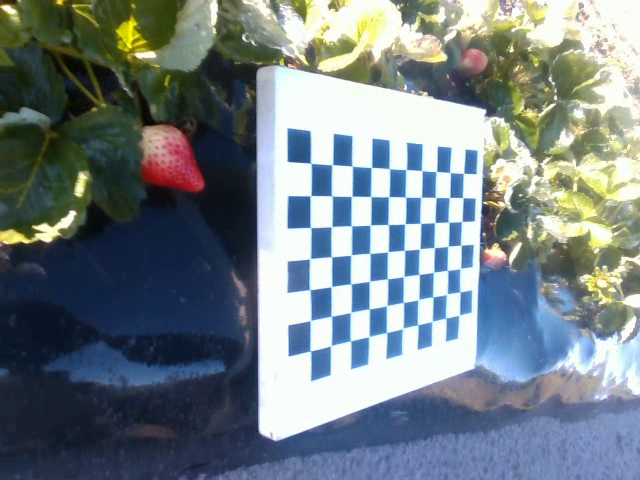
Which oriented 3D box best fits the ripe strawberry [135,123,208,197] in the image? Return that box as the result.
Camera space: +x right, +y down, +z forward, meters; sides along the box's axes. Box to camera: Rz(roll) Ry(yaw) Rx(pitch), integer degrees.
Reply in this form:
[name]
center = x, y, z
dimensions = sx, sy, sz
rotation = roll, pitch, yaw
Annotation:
[ripe strawberry]
center = -0.104, -0.051, 0.429
dimensions = 0.040, 0.040, 0.065
rotation = 2, -37, 44
